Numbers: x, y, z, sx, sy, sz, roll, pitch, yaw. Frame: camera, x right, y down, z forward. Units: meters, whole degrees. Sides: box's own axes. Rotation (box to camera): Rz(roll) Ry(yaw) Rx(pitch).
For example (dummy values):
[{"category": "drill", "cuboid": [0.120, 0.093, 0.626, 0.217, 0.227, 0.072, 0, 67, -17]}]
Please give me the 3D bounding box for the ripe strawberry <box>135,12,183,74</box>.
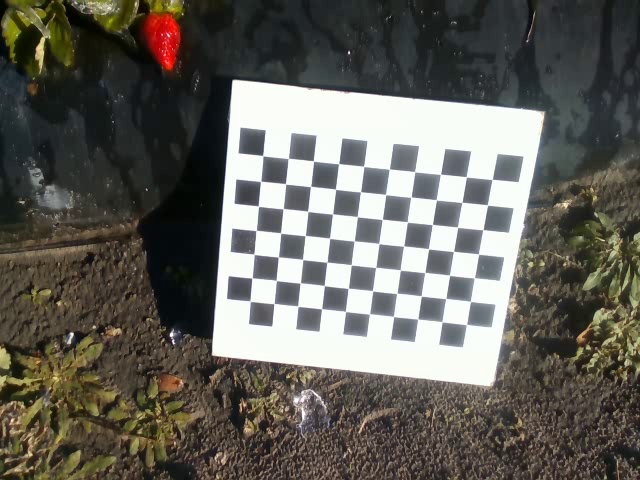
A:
[{"category": "ripe strawberry", "cuboid": [-0.145, -0.177, 0.561, 0.042, 0.052, 0.040, -11, 4, 2]}]
